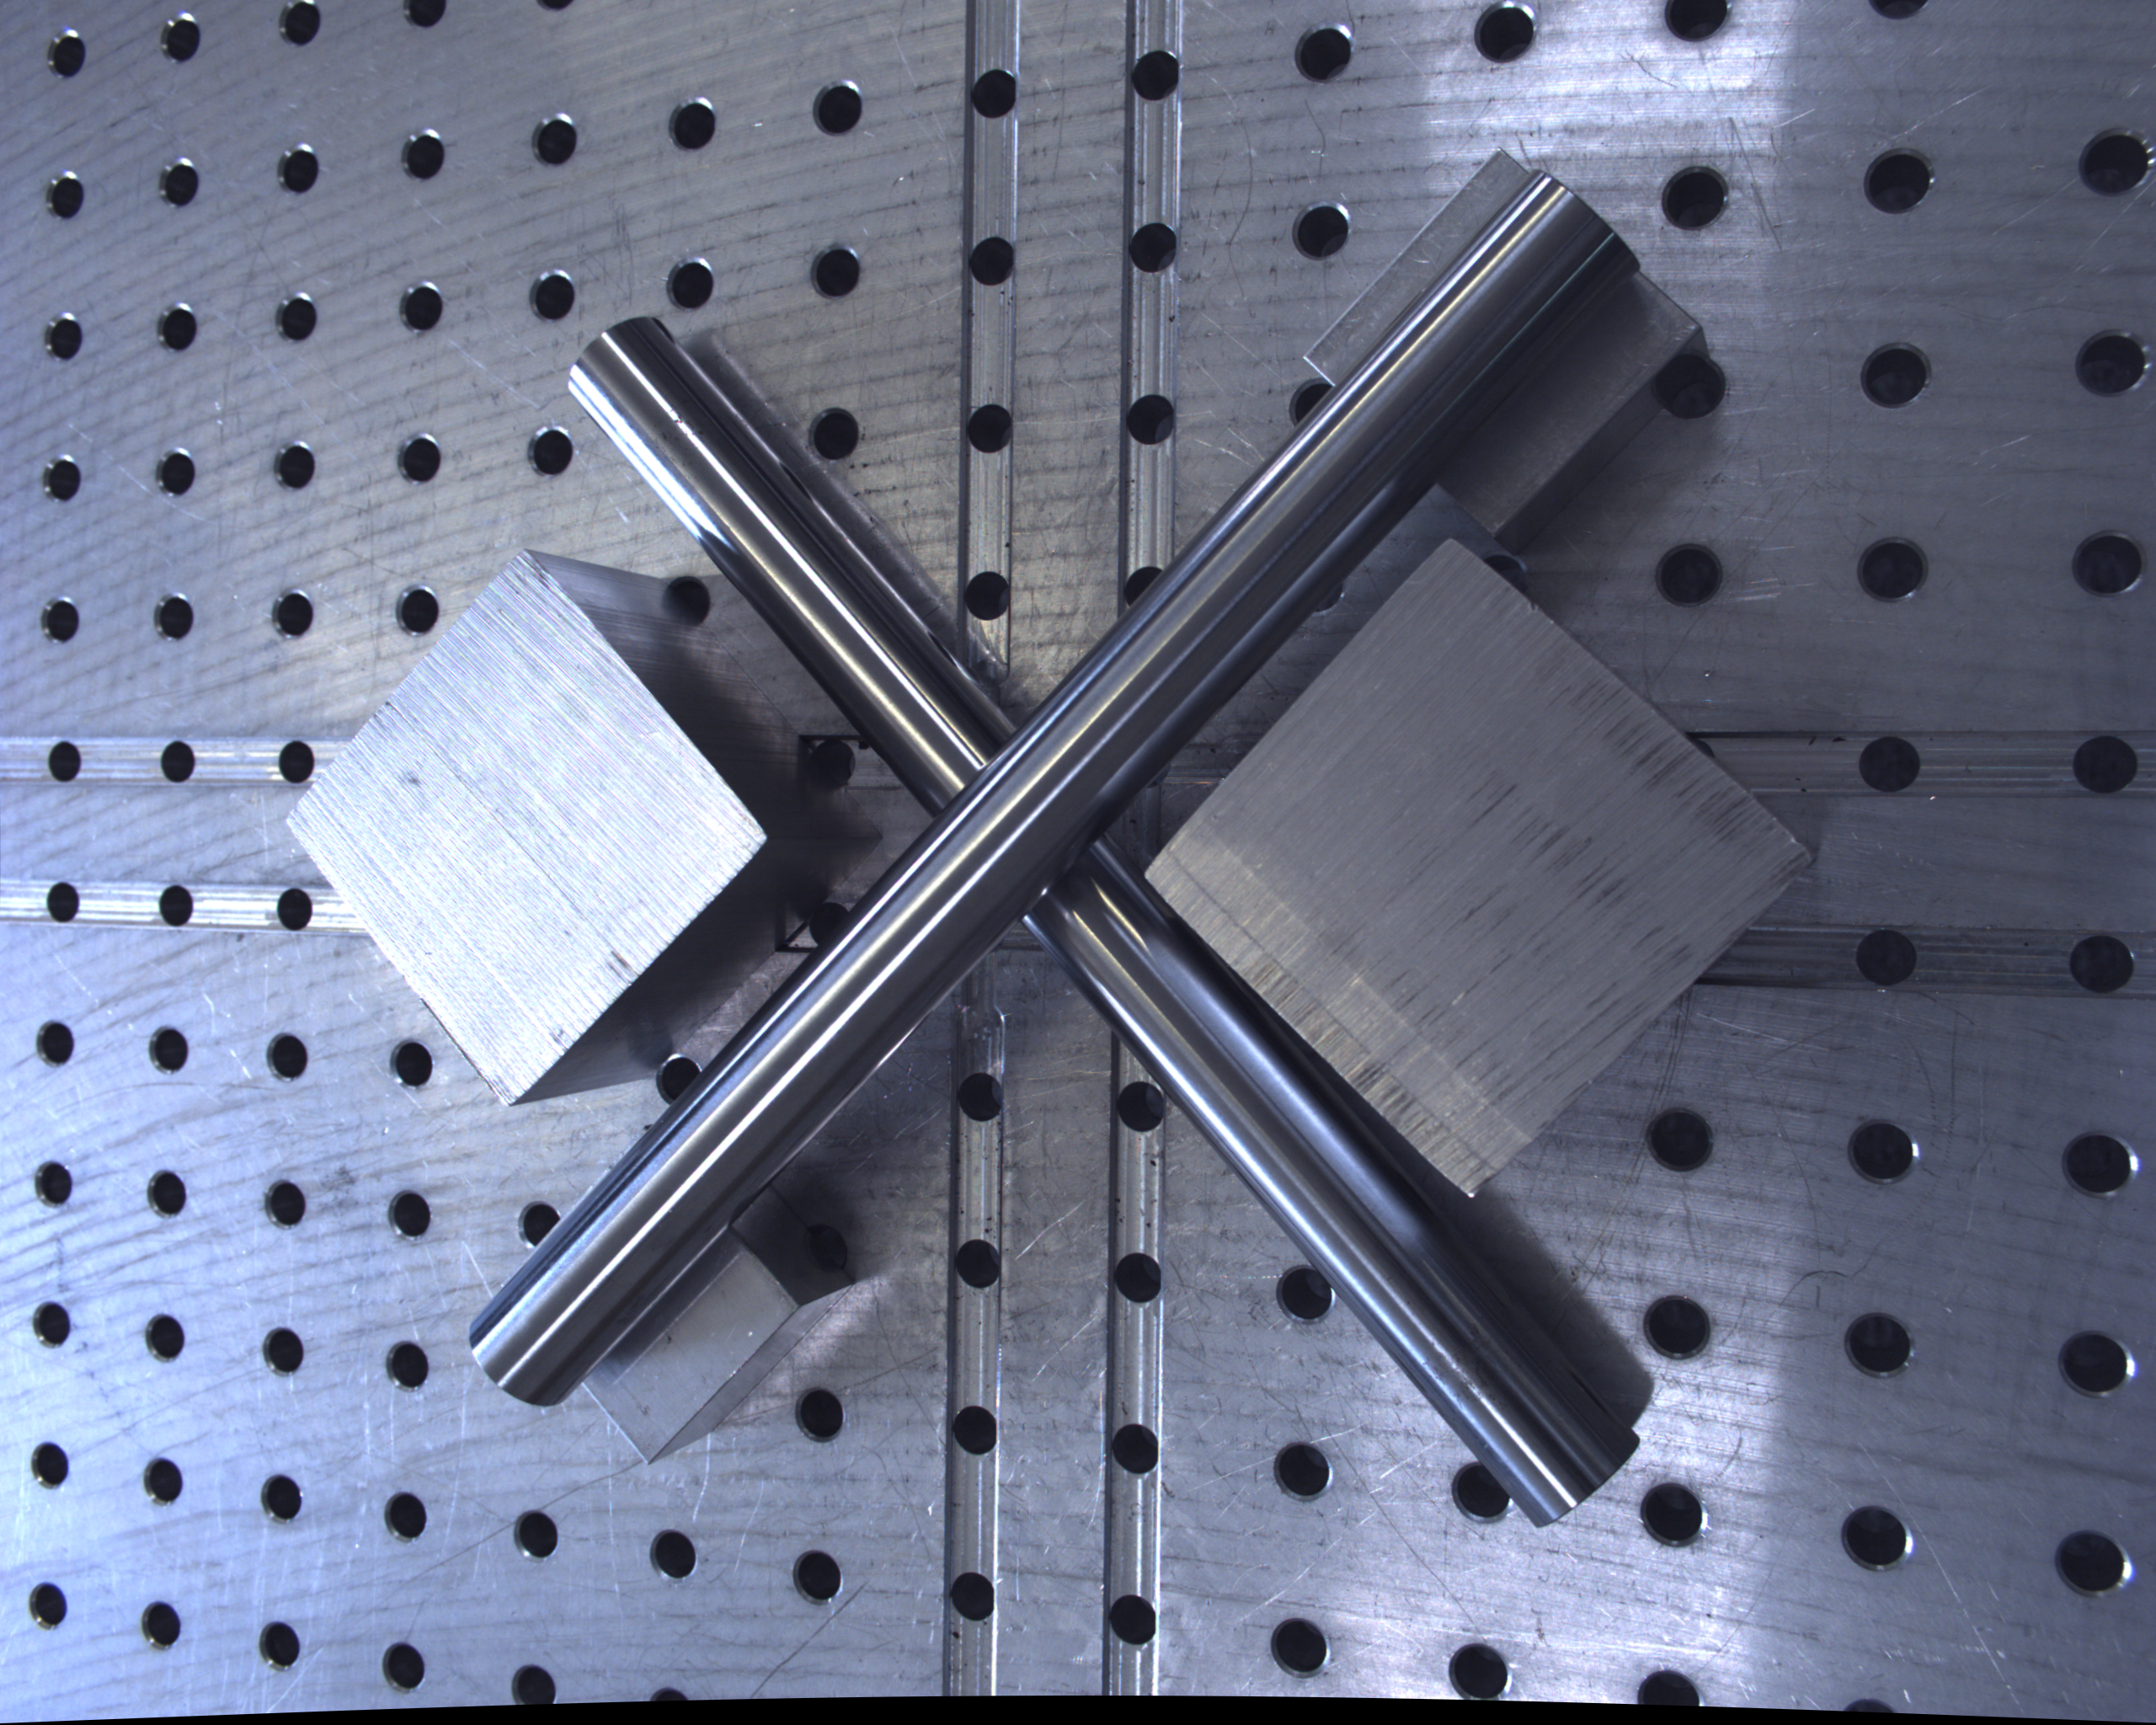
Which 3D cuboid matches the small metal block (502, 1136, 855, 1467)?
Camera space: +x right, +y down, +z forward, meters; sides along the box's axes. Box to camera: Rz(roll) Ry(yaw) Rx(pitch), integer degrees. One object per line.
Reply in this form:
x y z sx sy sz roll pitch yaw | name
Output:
-0.085 0.090 0.442 0.050 0.025 0.050 46 104 14 | small metal block

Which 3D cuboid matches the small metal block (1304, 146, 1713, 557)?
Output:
0.079 -0.093 0.385 0.050 0.025 0.050 -46 76 14 | small metal block

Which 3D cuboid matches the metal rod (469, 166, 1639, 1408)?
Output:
-0.014 -0.004 0.390 0.299 0.025 0.025 -47 76 14 | metal rod

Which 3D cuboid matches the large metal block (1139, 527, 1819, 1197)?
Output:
0.073 0.000 0.374 0.080 0.050 0.080 45 104 14 | large metal block

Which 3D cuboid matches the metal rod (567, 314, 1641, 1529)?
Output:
-0.003 0.002 0.413 0.025 0.025 0.300 -44 76 15 | metal rod

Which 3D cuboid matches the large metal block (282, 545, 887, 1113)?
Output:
-0.102 -0.007 0.436 0.080 0.050 0.080 -45 76 14 | large metal block
